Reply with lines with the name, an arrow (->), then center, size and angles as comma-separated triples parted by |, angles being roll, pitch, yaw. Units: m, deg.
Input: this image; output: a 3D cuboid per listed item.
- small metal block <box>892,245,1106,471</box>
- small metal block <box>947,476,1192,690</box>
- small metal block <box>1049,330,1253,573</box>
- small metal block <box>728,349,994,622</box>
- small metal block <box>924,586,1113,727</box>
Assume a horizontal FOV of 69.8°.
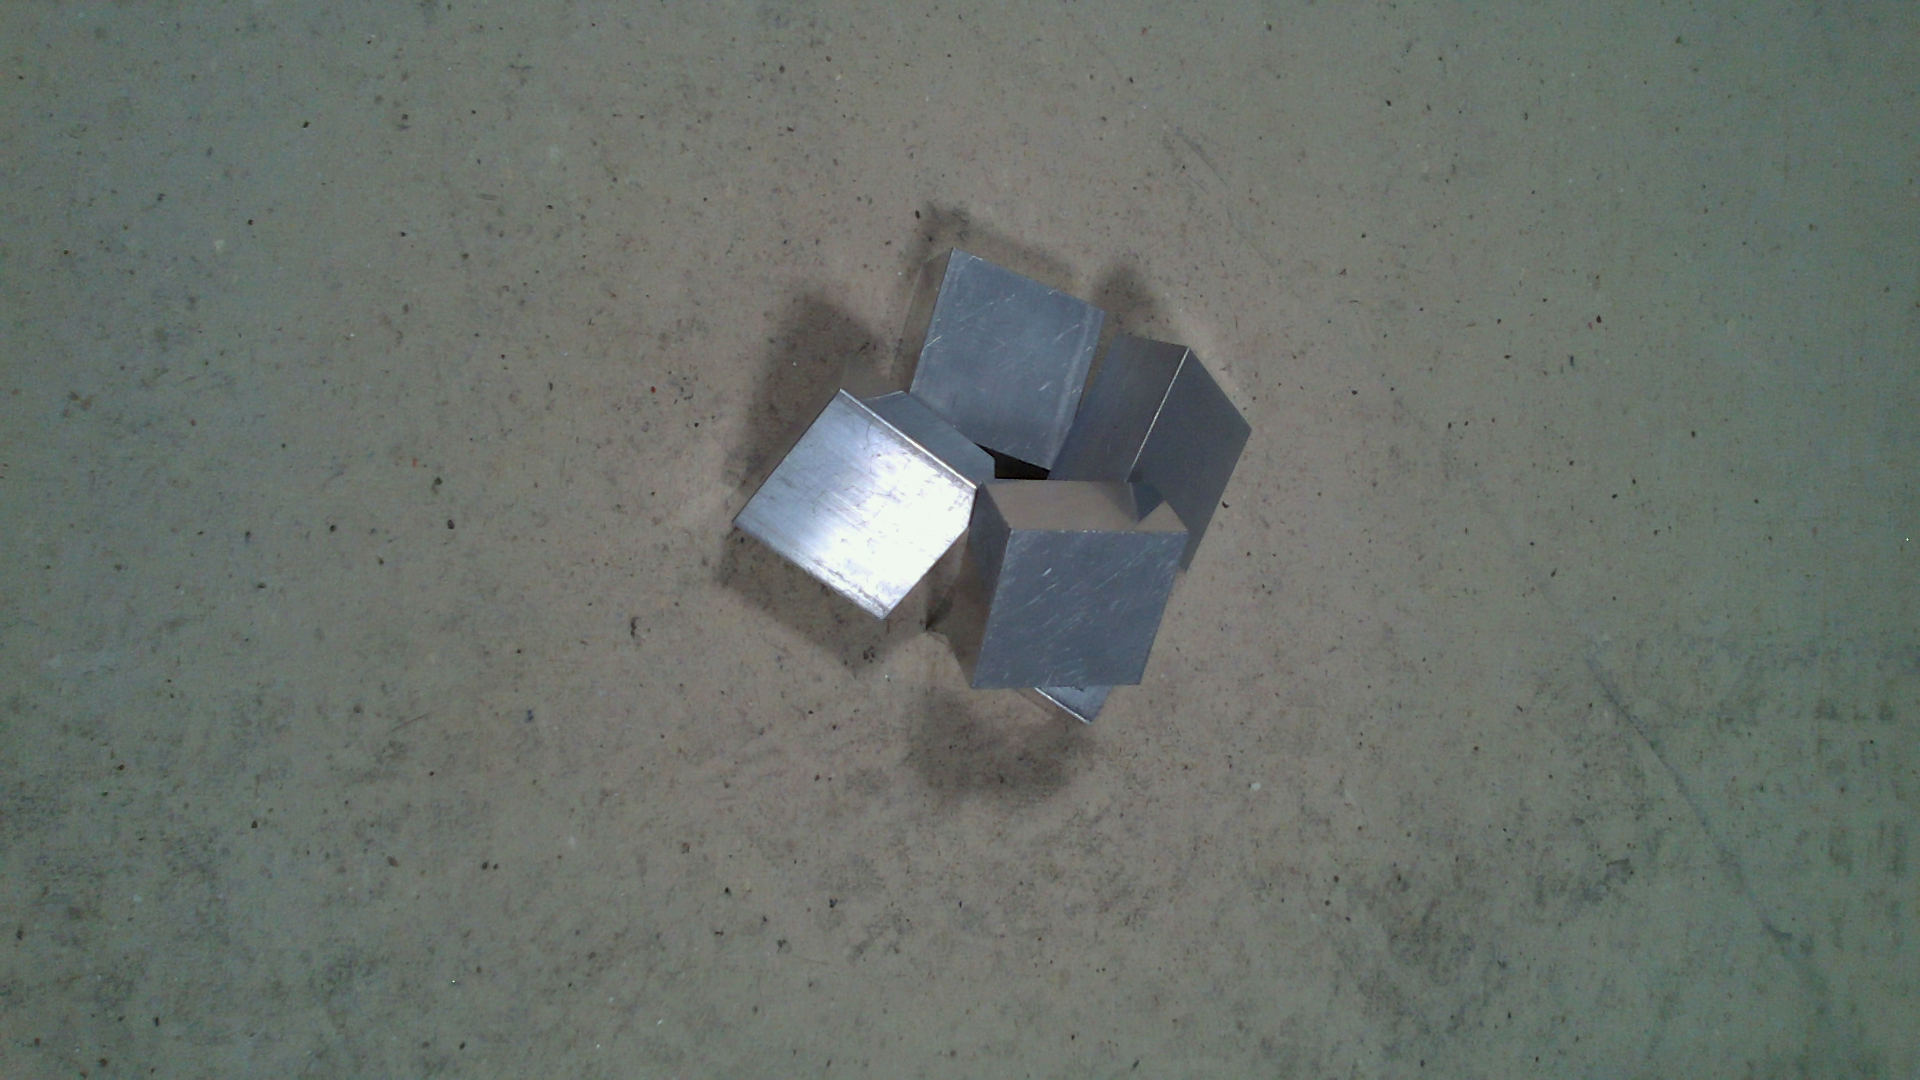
small metal block -> 0.008, -0.050, 0.397 | 0.050, 0.025, 0.050 | 18, 84, -19
small metal block -> 0.028, 0.011, 0.365 | 0.050, 0.025, 0.050 | 0, 123, -20
small metal block -> 0.056, -0.025, 0.402 | 0.050, 0.025, 0.050 | 37, 76, -50
small metal block -> -0.026, -0.014, 0.372 | 0.050, 0.025, 0.050 | 35, 115, -17
small metal block -> 0.026, 0.019, 0.404 | 0.050, 0.025, 0.050 | 34, 79, -17
